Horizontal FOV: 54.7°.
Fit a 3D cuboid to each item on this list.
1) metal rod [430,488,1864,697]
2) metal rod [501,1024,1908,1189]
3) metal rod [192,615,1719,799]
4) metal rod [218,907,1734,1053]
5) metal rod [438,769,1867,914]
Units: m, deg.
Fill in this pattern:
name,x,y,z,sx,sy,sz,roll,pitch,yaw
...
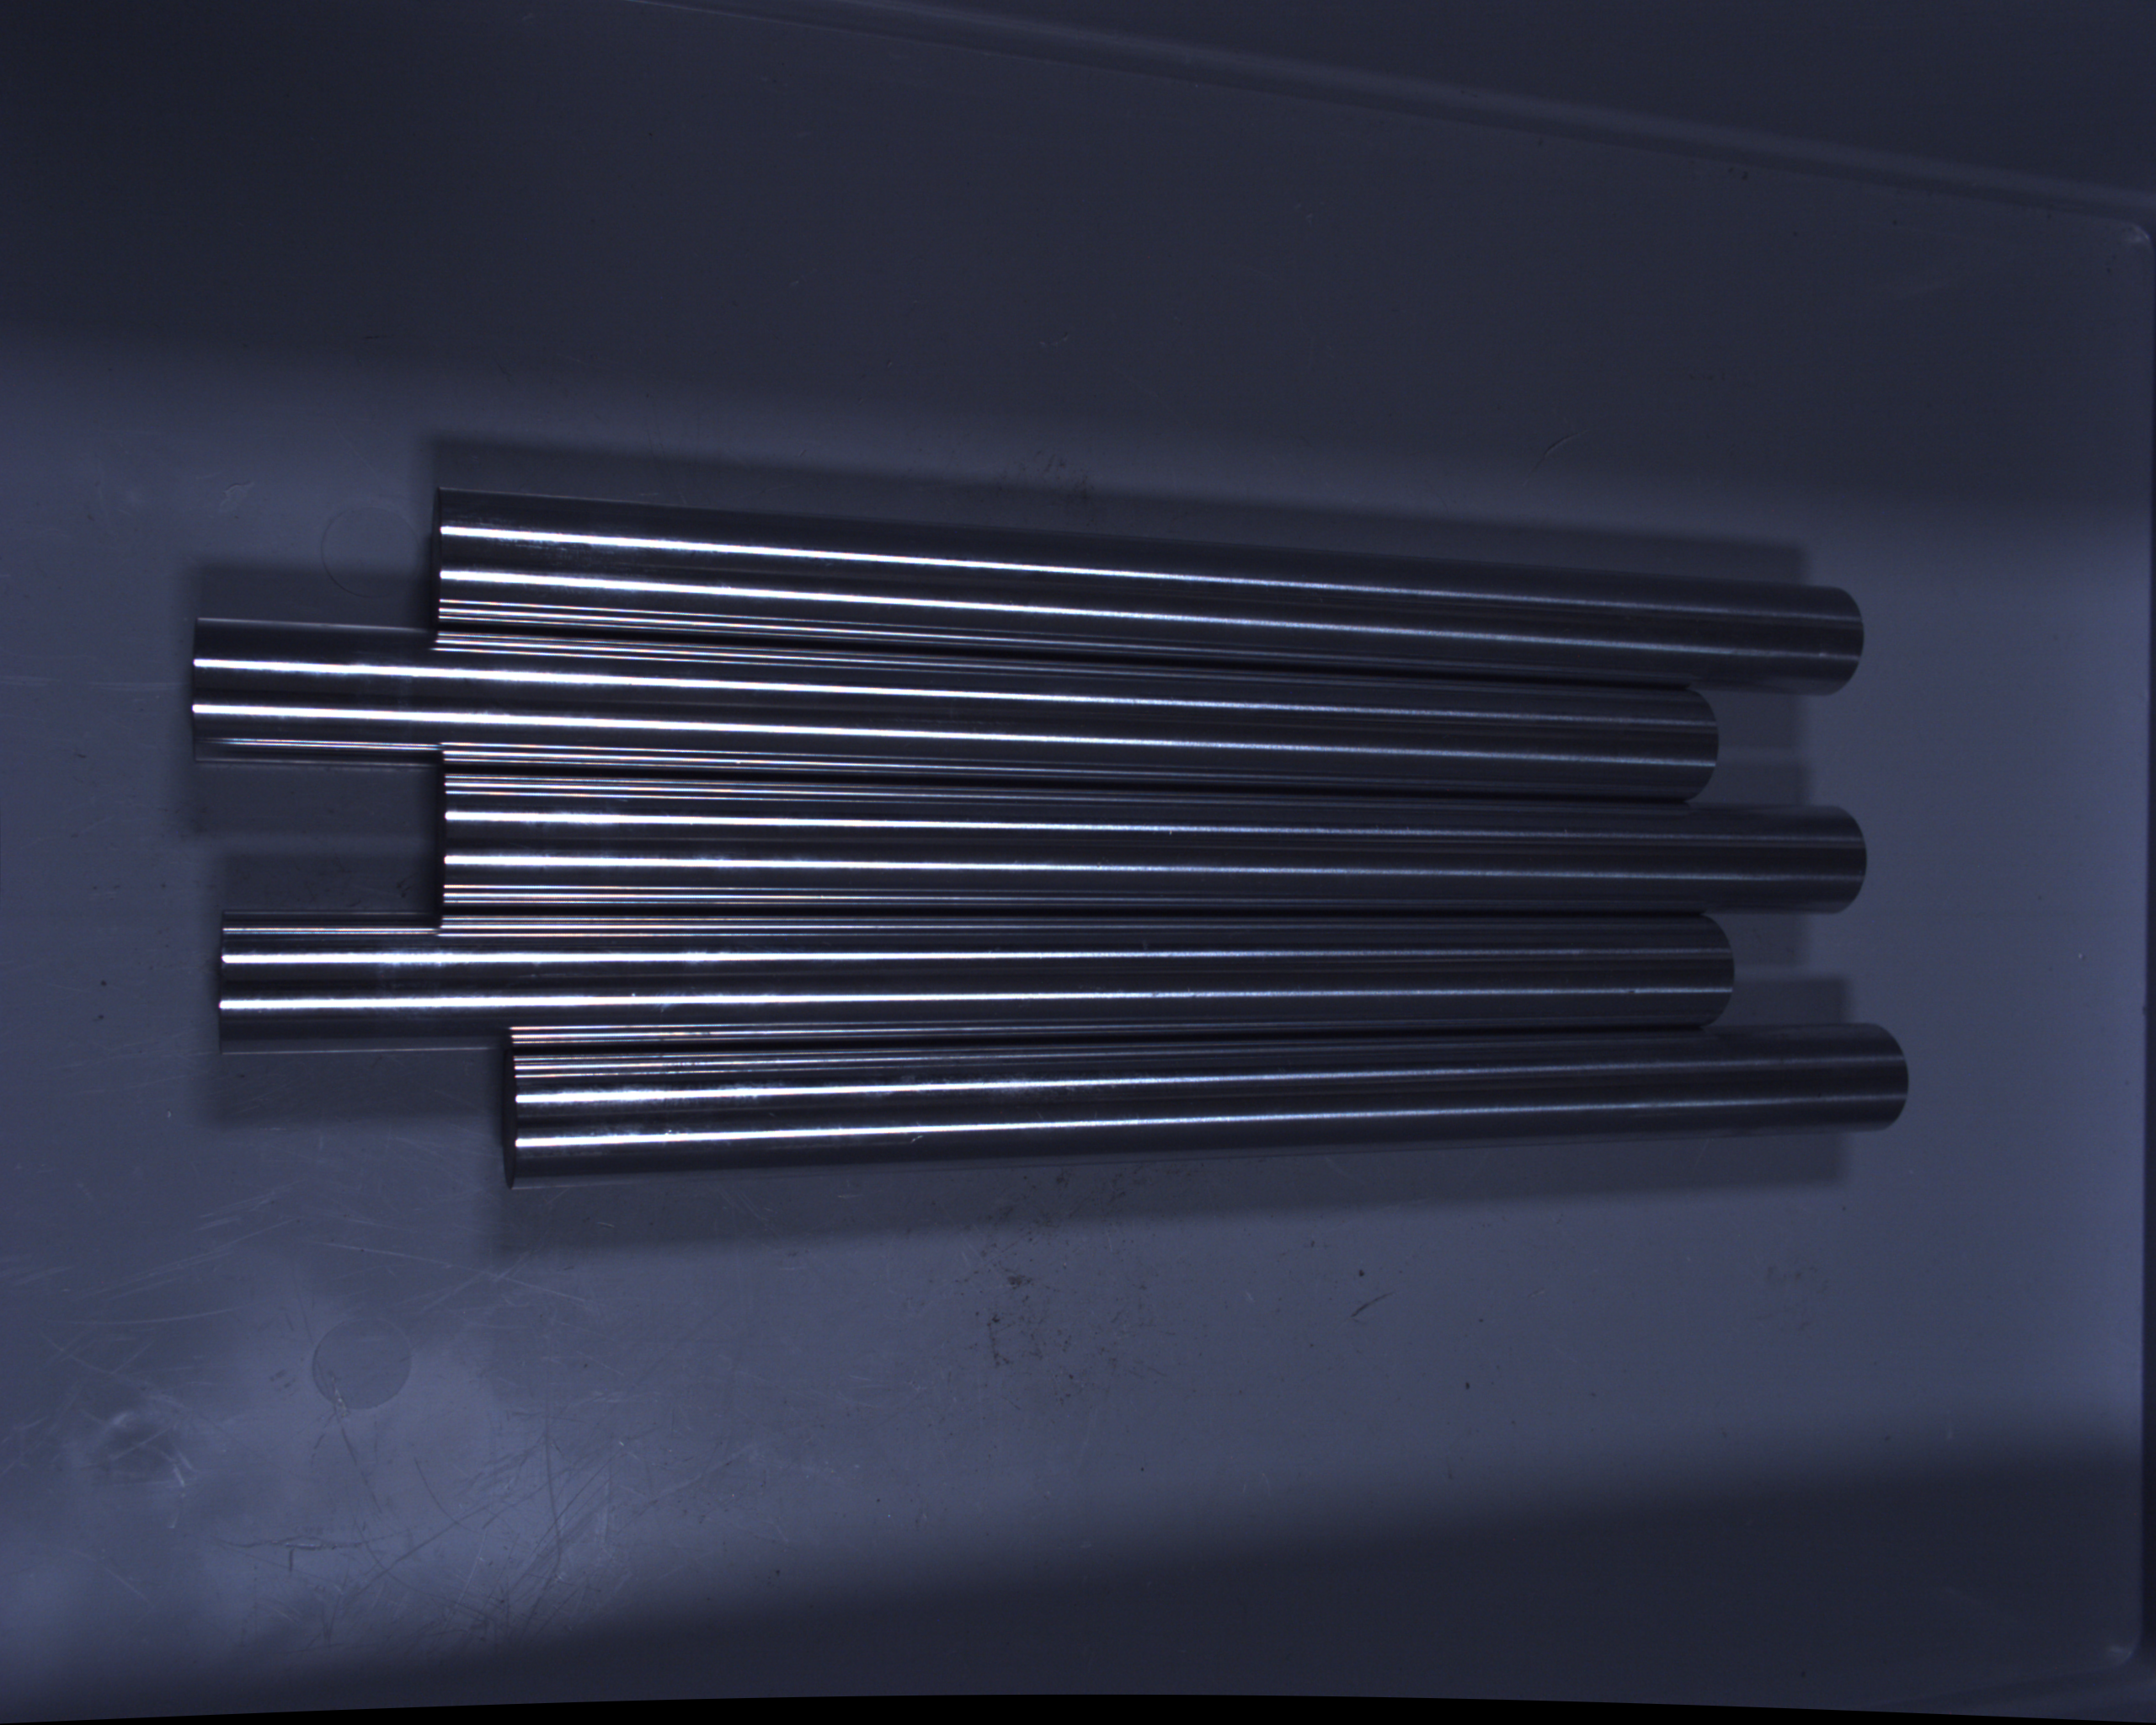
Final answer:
name,x,y,z,sx,sy,sz,roll,pitch,yaw
metal rod,0.028,-0.052,0.420,0.303,0.025,0.025,1,90,-21
metal rod,0.040,0.048,0.425,0.303,0.025,0.025,1,90,-21
metal rod,-0.008,-0.028,0.407,0.303,0.025,0.025,1,90,-21
metal rod,-0.004,0.022,0.408,0.303,0.025,0.025,1,90,-21
metal rod,0.029,-0.002,0.421,0.303,0.025,0.025,1,90,-21
